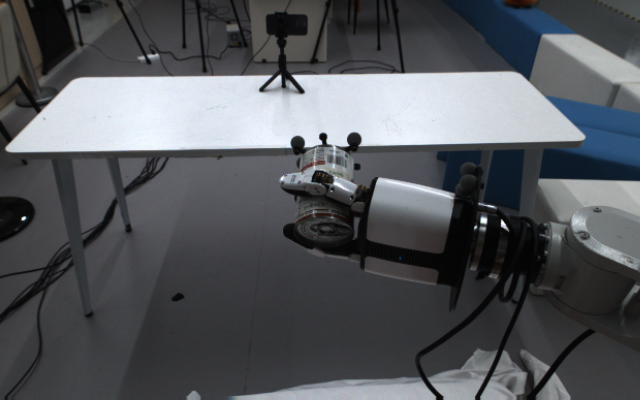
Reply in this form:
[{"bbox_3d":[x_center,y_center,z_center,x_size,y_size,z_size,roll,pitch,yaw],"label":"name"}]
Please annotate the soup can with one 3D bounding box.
[{"bbox_3d":[0.008,-0.005,0.559,0.067,0.067,0.101,3,57,1],"label":"soup can"}]
